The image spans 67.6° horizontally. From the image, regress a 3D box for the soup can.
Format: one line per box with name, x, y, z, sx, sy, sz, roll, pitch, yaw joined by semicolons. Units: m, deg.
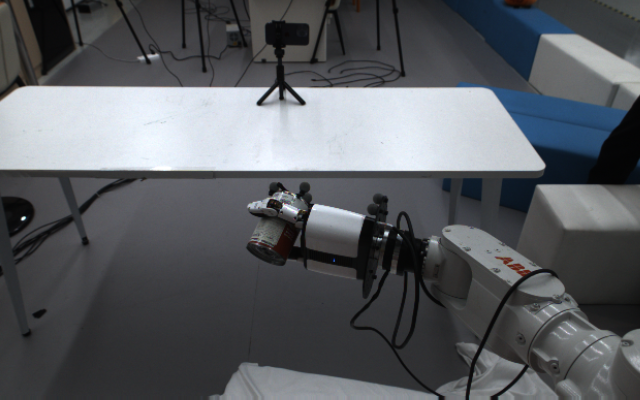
soup can;-0.065;0.045;0.769;0.067;0.067;0.101;15;63;18
